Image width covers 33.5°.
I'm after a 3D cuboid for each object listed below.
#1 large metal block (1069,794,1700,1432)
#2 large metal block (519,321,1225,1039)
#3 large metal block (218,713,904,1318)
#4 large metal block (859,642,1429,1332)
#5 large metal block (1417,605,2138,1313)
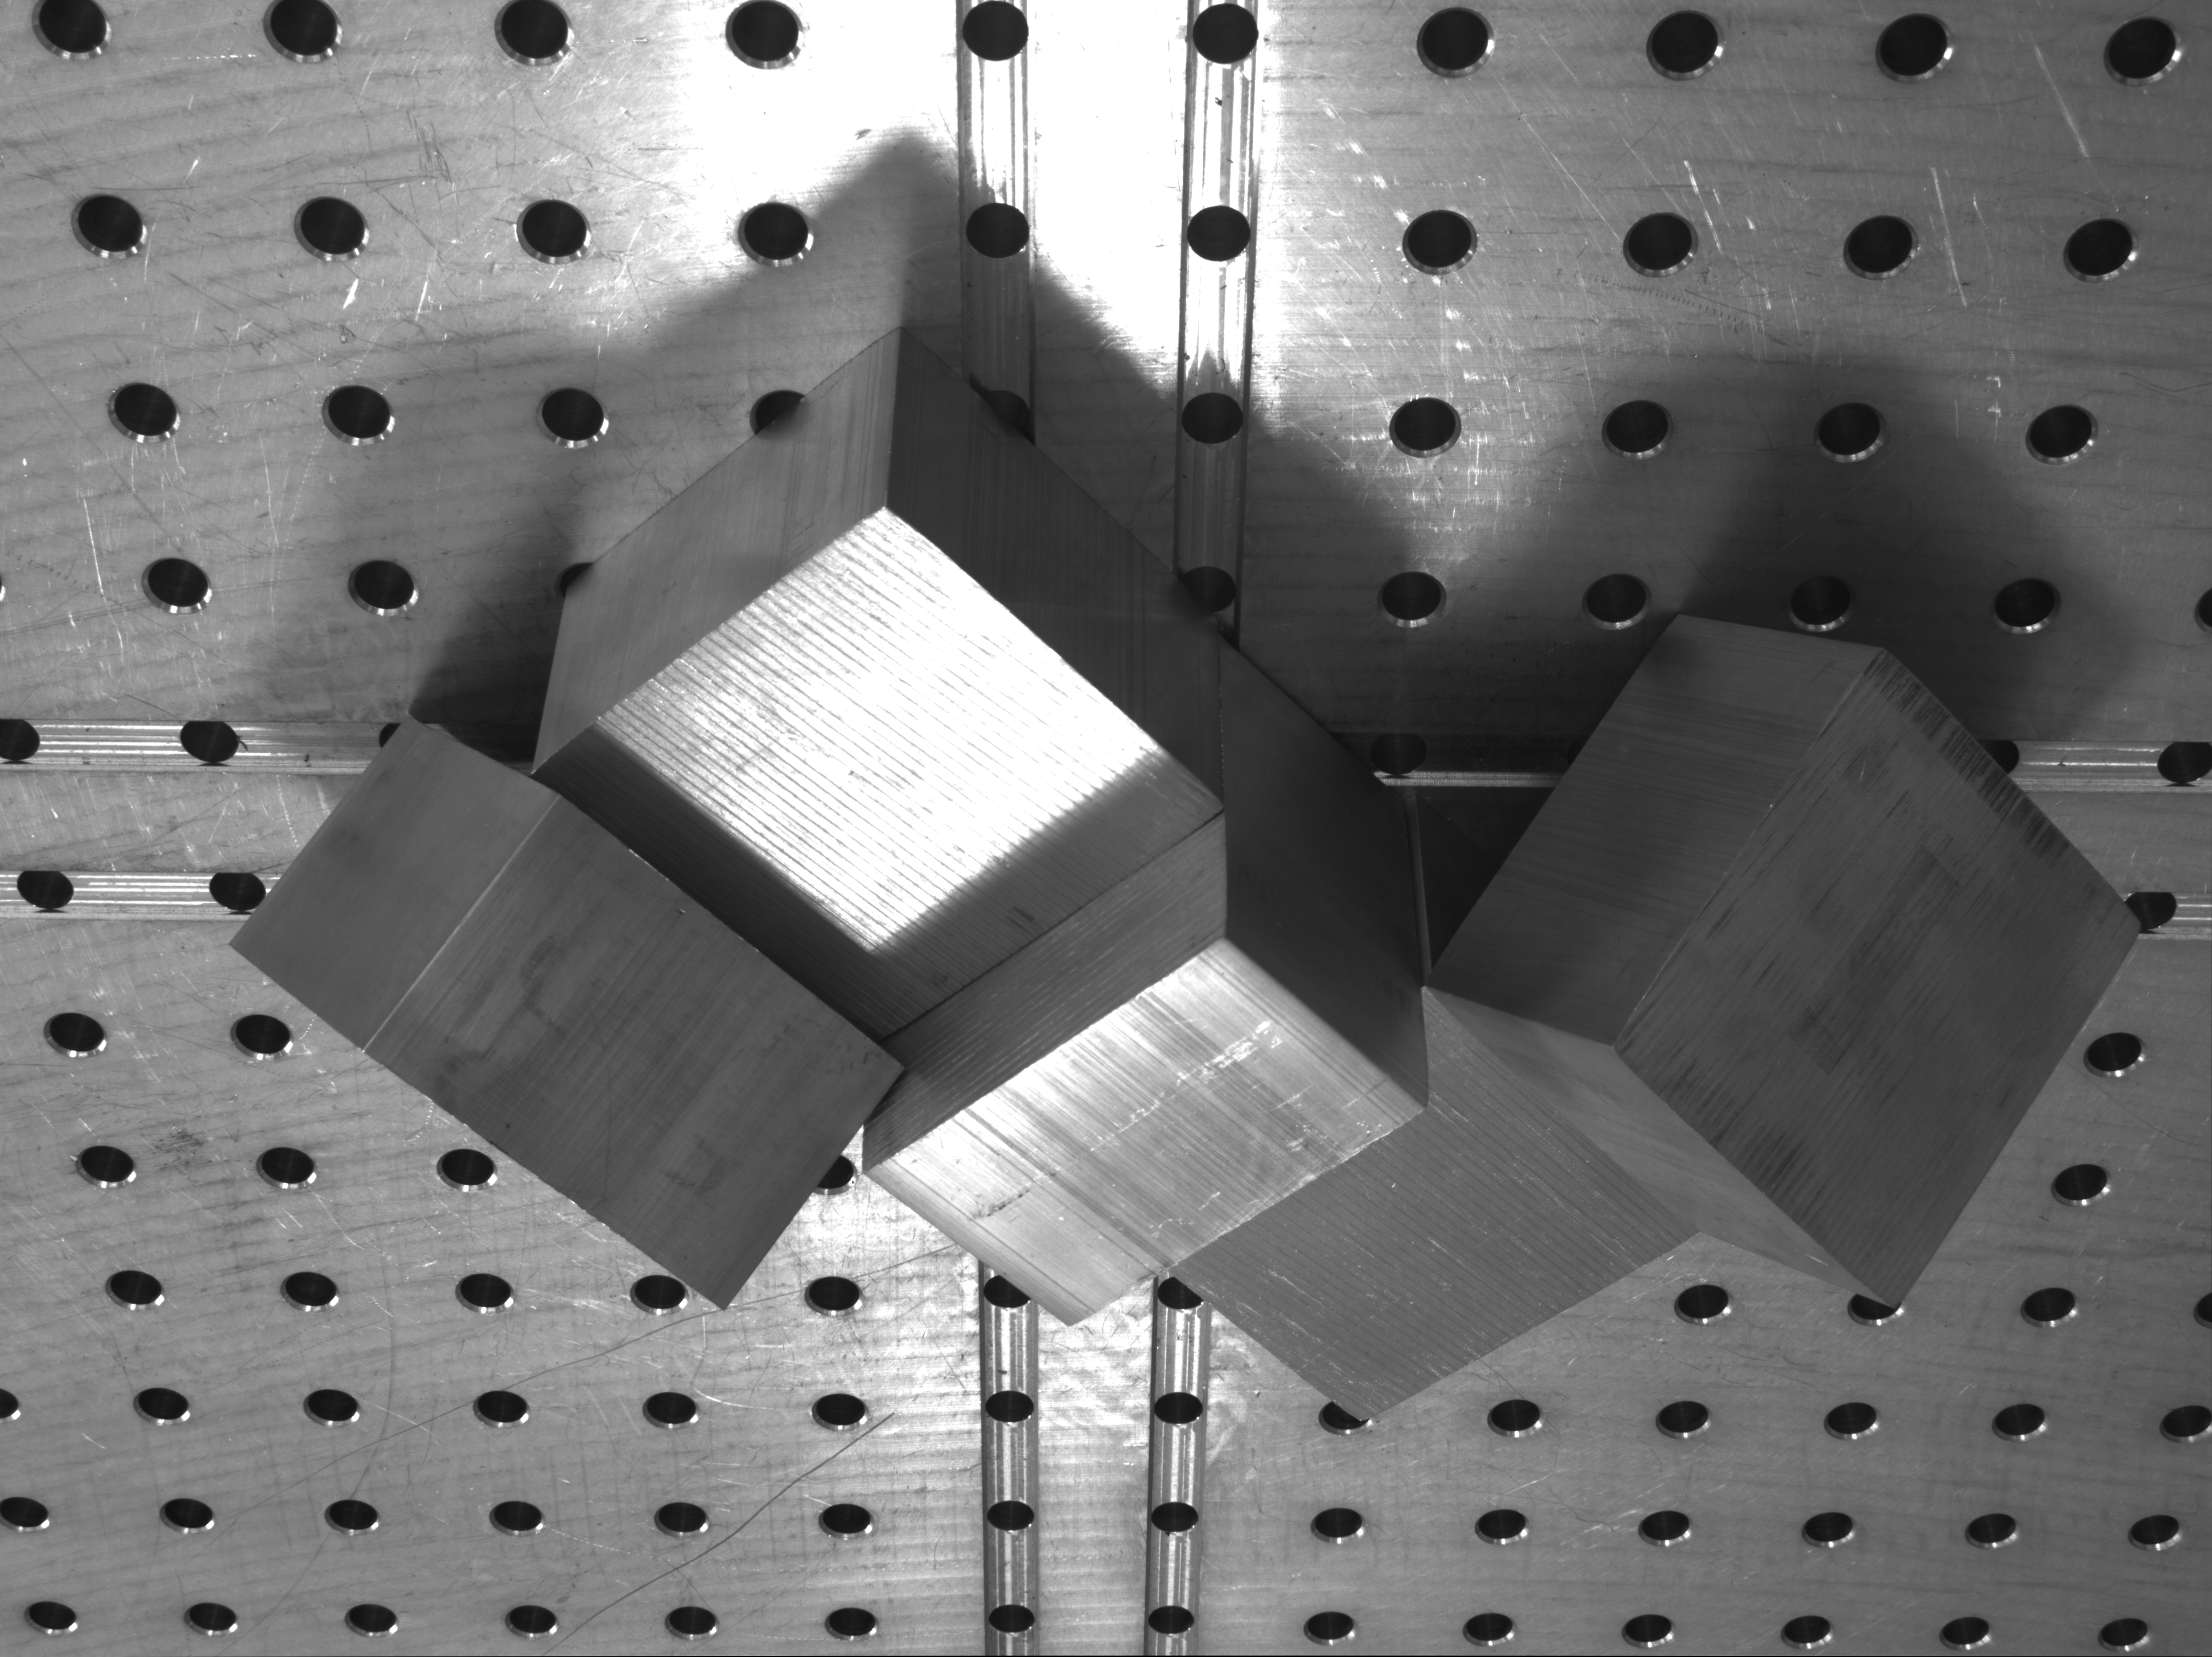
[{"bbox_3d":[0.050,0.053,0.671,0.080,0.050,0.080,-34,121,25],"label":"large metal block"},{"bbox_3d":[-0.037,-0.022,0.607,0.080,0.050,0.080,-34,123,26],"label":"large metal block"},{"bbox_3d":[-0.093,0.030,0.623,0.080,0.080,0.050,41,80,-29],"label":"large metal block"},{"bbox_3d":[0.005,0.025,0.628,0.080,0.080,0.050,-35,123,26],"label":"large metal block"},{"bbox_3d":[0.113,0.021,0.617,0.080,0.050,0.080,41,79,-29],"label":"large metal block"}]
